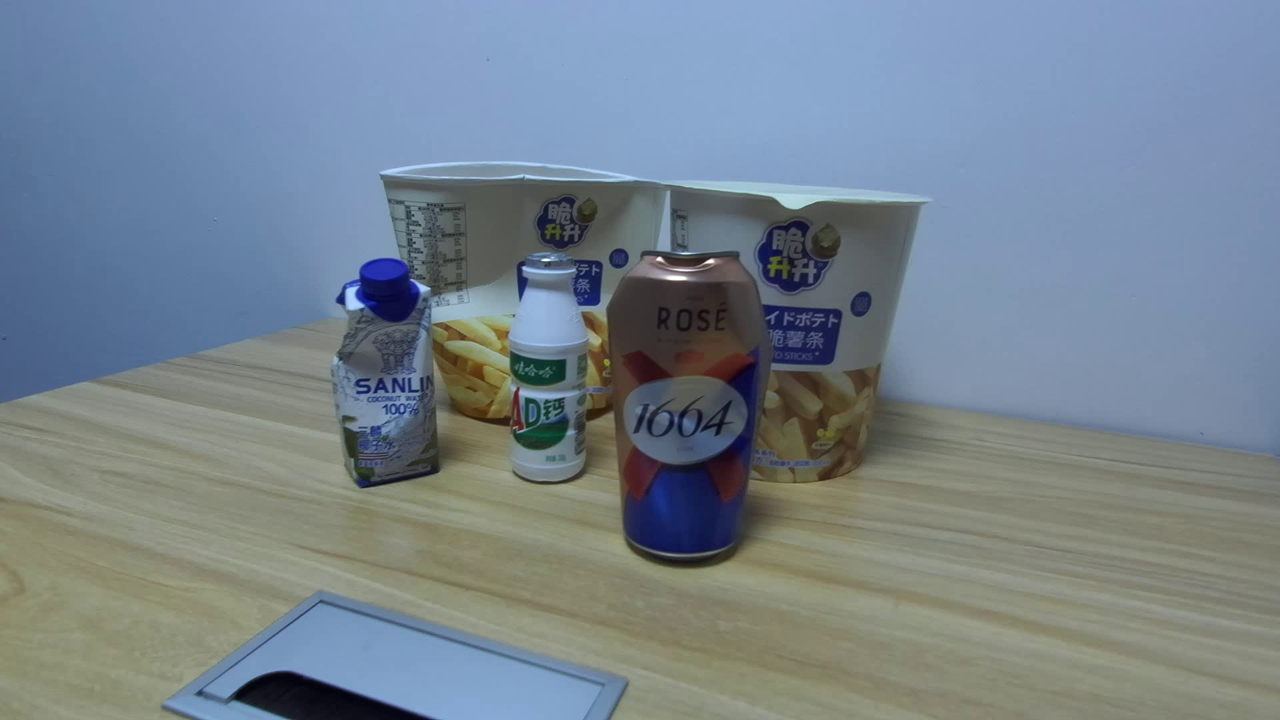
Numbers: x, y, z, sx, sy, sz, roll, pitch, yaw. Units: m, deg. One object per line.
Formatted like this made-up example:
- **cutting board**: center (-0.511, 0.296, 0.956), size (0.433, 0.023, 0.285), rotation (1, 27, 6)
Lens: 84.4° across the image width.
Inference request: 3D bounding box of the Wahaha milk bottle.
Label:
- **Wahaha milk bottle**: center (-0.059, 0.006, 0.466), size (0.053, 0.147, 0.053), rotation (3, 16, -1)

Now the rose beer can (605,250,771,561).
- **rose beer can**: center (0.026, 0.024, 0.387), size (0.069, 0.168, 0.069), rotation (10, 15, 35)

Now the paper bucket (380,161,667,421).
- **paper bucket**: center (-0.082, -0.059, 0.596), size (0.147, 0.199, 0.219), rotation (15, 20, 36)

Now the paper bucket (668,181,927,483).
- **paper bucket**: center (0.105, -0.027, 0.528), size (0.198, 0.194, 0.198), rotation (3, 16, 0)

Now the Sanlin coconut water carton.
- **Sanlin coconut water carton**: center (-0.168, 0.005, 0.459), size (0.061, 0.143, 0.069), rotation (-9, 21, -31)
